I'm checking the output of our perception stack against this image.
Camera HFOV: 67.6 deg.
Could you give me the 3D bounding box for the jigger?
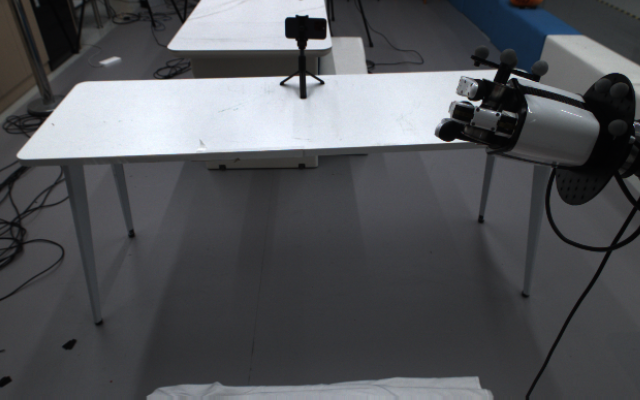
[{"bbox_3d":[0.200,-0.106,0.580,0.043,0.071,0.043,18,17,-6],"label":"jigger"}]
